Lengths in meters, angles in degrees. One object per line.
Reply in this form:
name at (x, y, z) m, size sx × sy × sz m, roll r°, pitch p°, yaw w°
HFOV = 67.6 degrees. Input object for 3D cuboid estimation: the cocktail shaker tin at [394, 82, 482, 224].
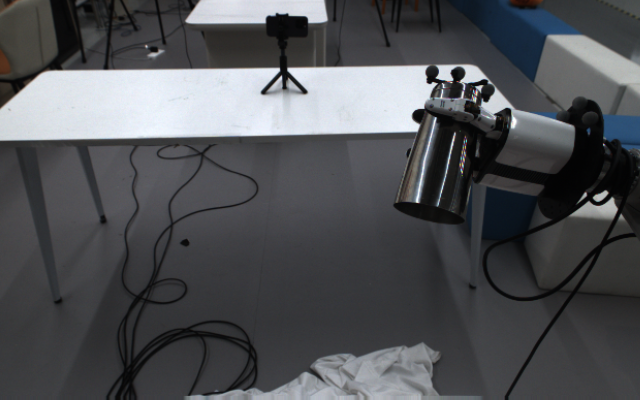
cocktail shaker tin at (0.164, -0.066, 0.632) m, size 0.093 × 0.093 × 0.170 m, roll 13°, pitch 79°, yaw 15°
